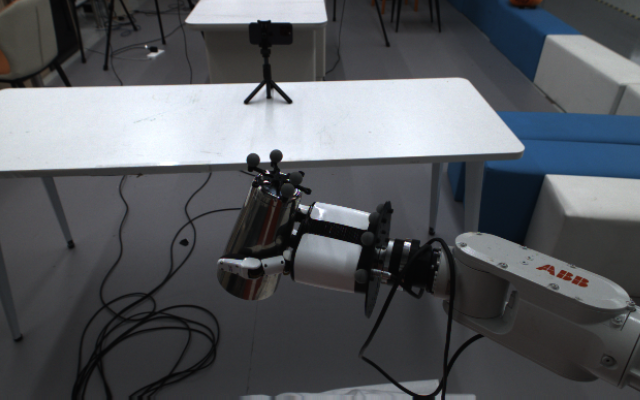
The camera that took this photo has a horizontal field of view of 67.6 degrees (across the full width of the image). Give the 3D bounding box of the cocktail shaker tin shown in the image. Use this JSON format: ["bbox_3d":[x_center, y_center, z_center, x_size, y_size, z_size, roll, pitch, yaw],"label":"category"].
[{"bbox_3d":[-0.080,0.047,0.670,0.093,0.170,0.093,15,31,-10],"label":"cocktail shaker tin"}]
